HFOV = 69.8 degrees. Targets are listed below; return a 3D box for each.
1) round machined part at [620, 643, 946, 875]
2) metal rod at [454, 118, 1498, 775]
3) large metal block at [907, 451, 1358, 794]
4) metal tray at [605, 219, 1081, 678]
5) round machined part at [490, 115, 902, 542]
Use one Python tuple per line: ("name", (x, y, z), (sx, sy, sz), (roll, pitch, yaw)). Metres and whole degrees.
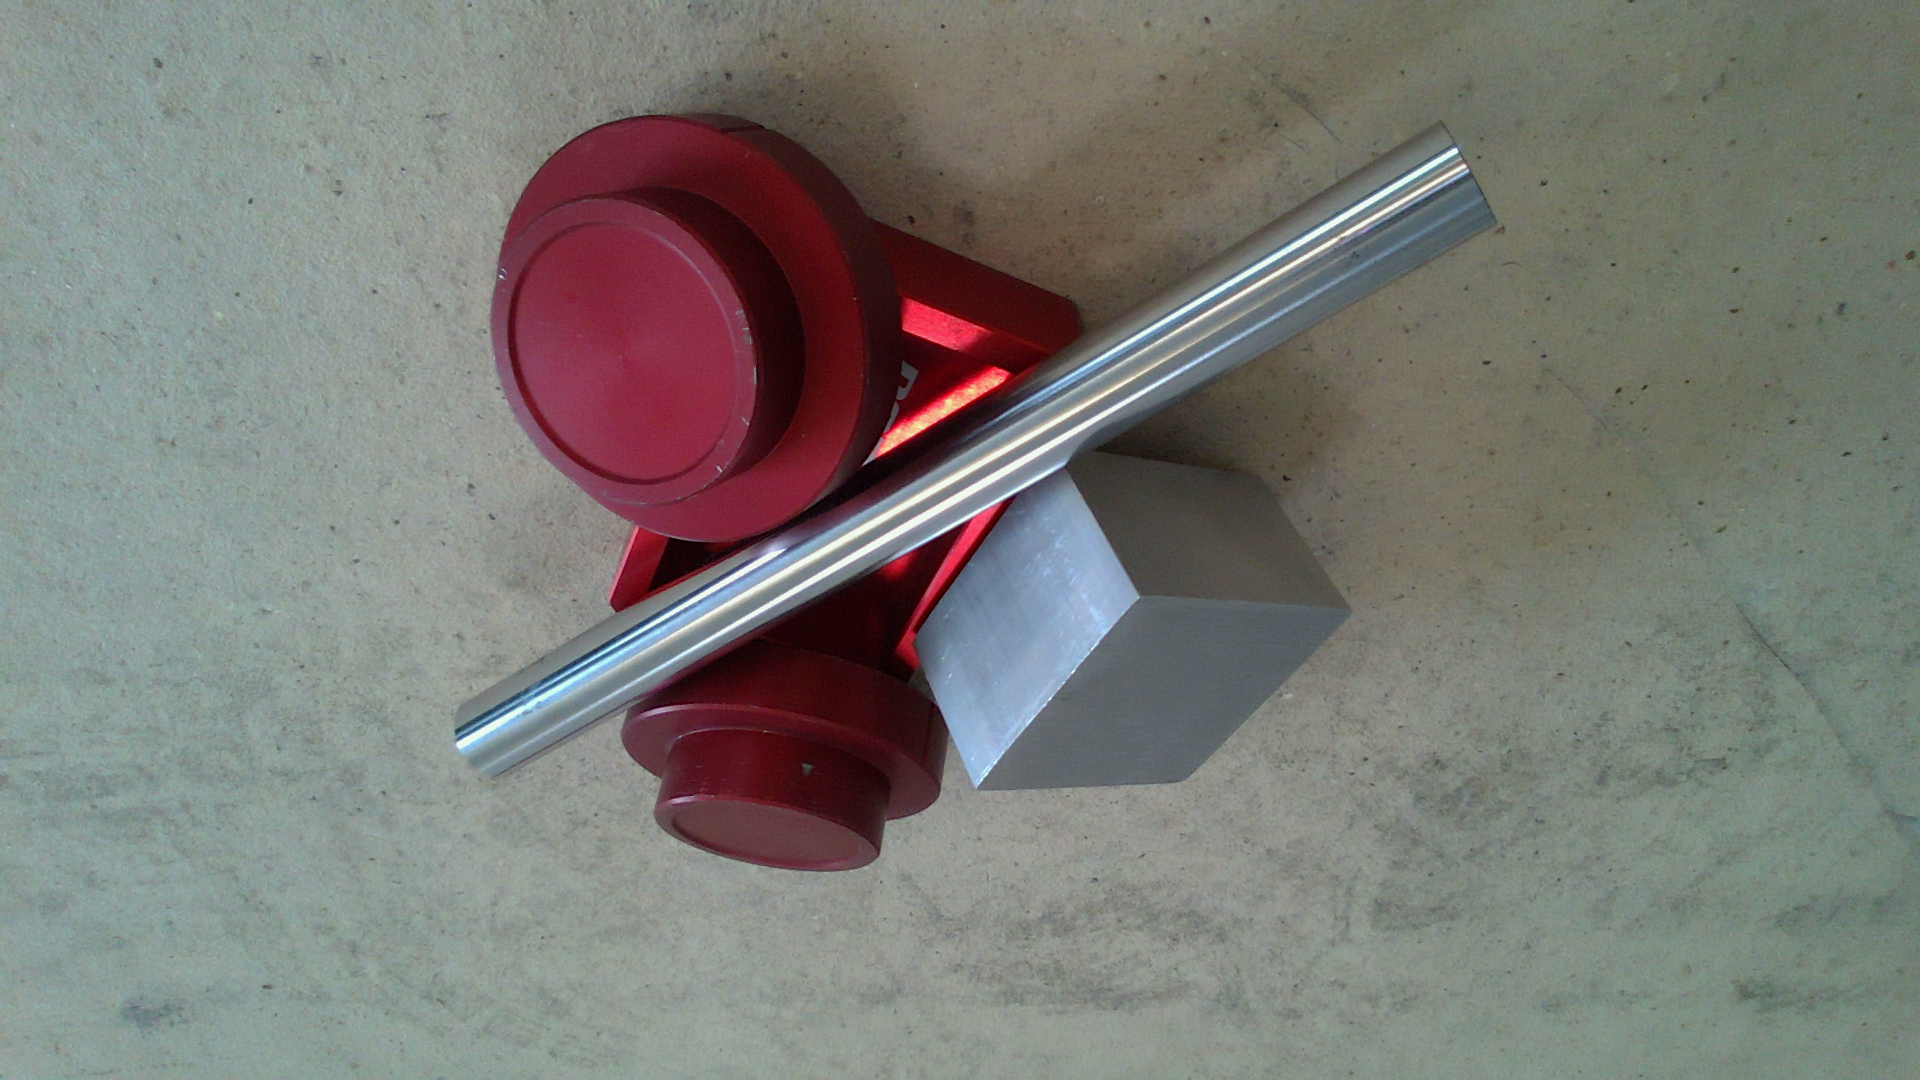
("round machined part", (-0.054, 0.071, 0.417), (0.098, 0.042, 0.098), (6, 151, 4))
("metal rod", (-0.015, -0.010, 0.344), (0.299, 0.025, 0.025), (-29, 124, 22))
("large metal block", (0.045, 0.024, 0.376), (0.080, 0.050, 0.080), (5, 134, -37))
("metal tray", (-0.033, -0.020, 0.370), (0.090, 0.030, 0.130), (19, 127, -16))
("round machined part", (-0.066, -0.046, 0.314), (0.098, 0.042, 0.098), (7, 111, 19))
